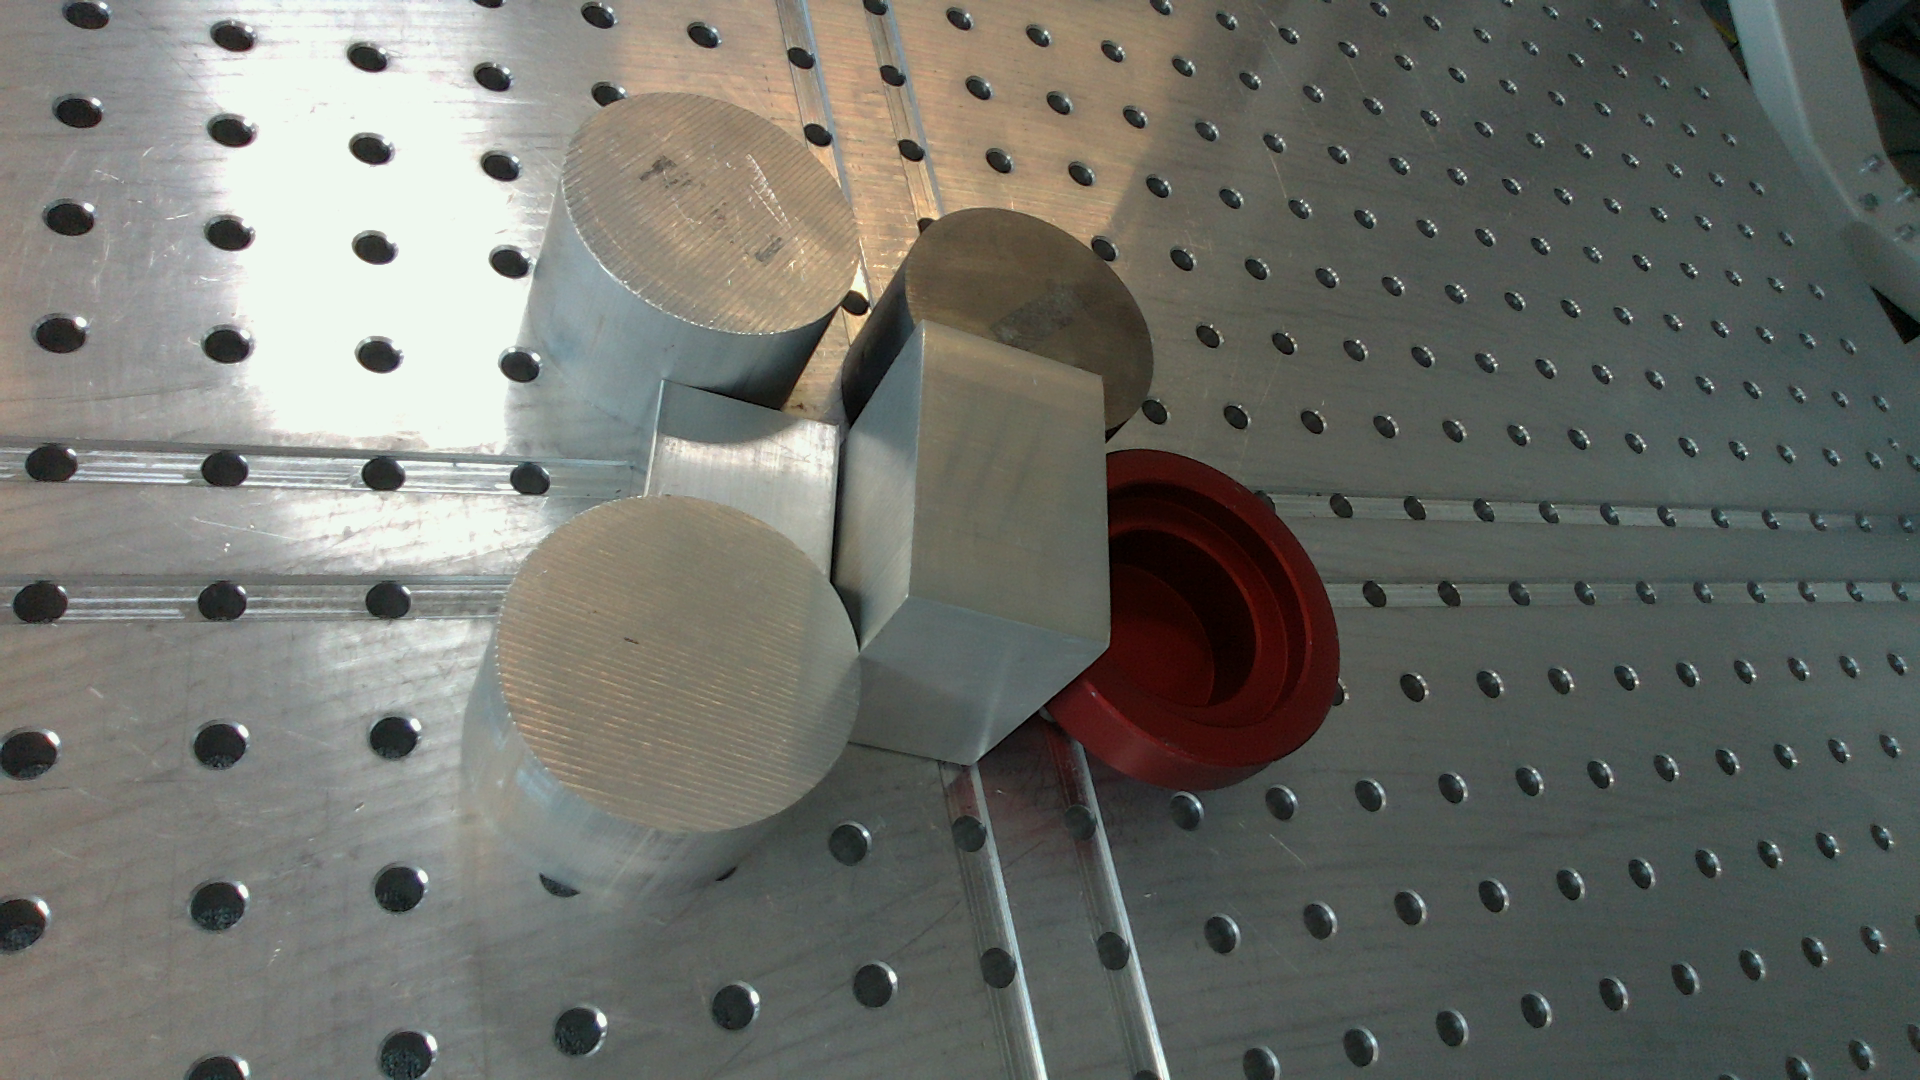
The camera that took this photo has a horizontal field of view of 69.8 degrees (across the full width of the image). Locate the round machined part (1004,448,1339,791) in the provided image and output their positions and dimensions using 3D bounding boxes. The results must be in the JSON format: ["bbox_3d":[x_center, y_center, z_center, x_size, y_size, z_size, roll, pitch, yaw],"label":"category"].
[{"bbox_3d":[0.056,0.026,0.396,0.098,0.042,0.098,14,56,-21],"label":"round machined part"}]

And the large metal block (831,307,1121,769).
[{"bbox_3d":[-0.002,0.002,0.351,0.050,0.080,0.080,15,56,-20],"label":"large metal block"}]

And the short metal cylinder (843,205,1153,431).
[{"bbox_3d":[0.011,-0.053,0.414,0.080,0.050,0.080,14,56,-21],"label":"short metal cylinder"}]

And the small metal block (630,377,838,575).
[{"bbox_3d":[-0.062,-0.010,0.365,0.050,0.025,0.050,14,56,-20],"label":"small metal block"}]

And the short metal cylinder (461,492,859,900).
[{"bbox_3d":[-0.070,0.036,0.317,0.080,0.050,0.080,14,56,-21],"label":"short metal cylinder"}]

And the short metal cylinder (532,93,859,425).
[{"bbox_3d":[-0.074,-0.076,0.383,0.080,0.050,0.080,14,56,-21],"label":"short metal cylinder"}]
